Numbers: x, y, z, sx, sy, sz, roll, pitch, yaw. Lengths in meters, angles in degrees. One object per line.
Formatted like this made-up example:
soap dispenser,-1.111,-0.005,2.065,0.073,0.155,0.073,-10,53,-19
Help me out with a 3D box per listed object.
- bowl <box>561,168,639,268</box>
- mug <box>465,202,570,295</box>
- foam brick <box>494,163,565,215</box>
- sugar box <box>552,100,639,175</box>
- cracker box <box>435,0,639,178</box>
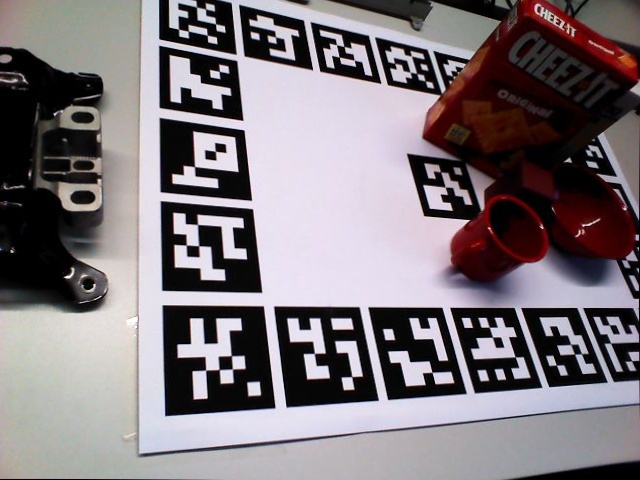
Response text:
bowl,0.403,-0.023,0.741,0.161,0.055,0.161,11,59,-19
mug,0.227,0.015,0.628,0.117,0.082,0.093,-6,57,-26
foam brick,0.286,-0.056,0.710,0.053,0.078,0.051,17,55,-15
sugar box,0.377,-0.176,0.755,0.093,0.178,0.045,23,55,-12
cracker box,0.285,-0.180,0.692,0.164,0.215,0.071,30,51,-8
